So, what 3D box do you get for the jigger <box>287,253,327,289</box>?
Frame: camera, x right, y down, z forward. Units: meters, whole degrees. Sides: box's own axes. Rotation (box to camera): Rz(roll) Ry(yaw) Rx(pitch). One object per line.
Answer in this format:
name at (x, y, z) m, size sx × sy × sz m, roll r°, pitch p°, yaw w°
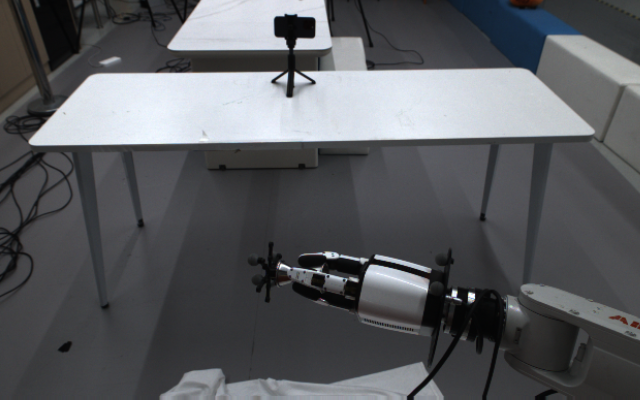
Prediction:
jigger at (-0.017, 0.103, 0.696) m, size 0.071 × 0.043 × 0.043 m, roll 2°, pitch 34°, yaw 16°
